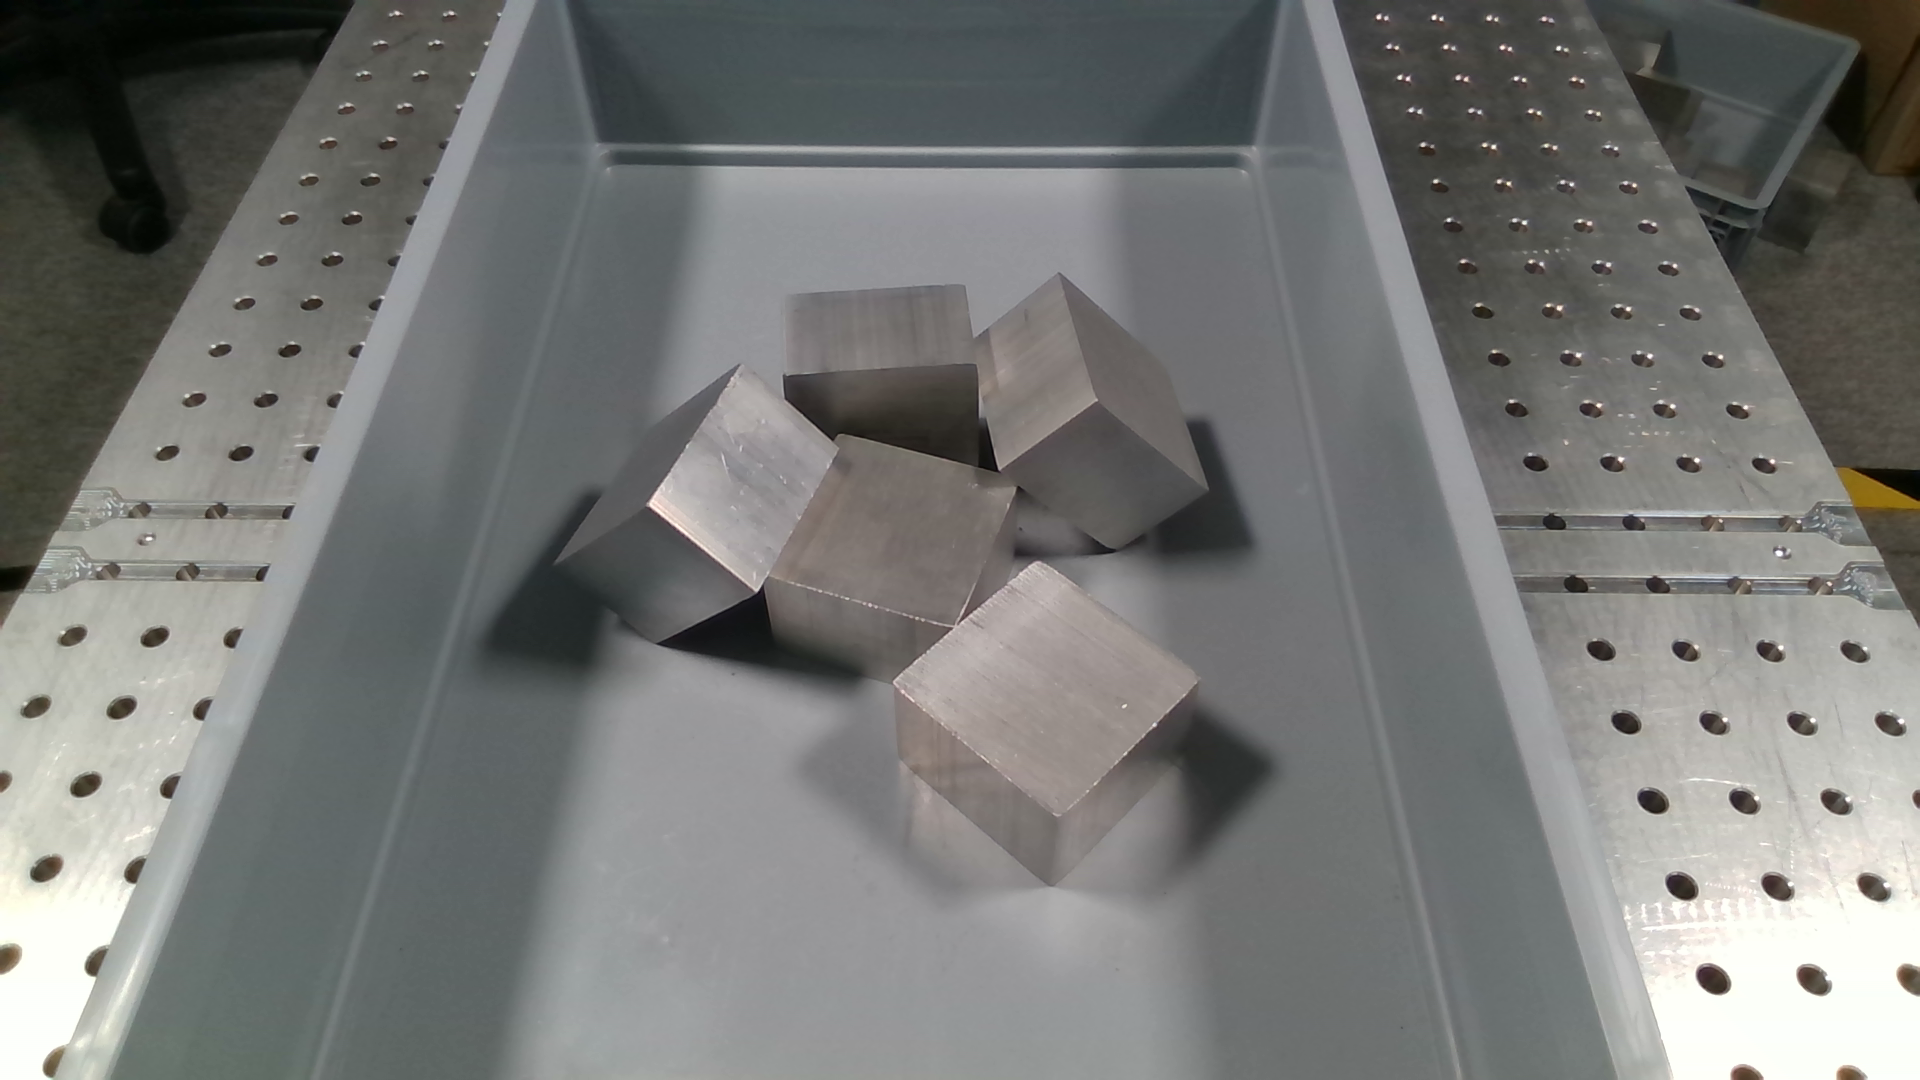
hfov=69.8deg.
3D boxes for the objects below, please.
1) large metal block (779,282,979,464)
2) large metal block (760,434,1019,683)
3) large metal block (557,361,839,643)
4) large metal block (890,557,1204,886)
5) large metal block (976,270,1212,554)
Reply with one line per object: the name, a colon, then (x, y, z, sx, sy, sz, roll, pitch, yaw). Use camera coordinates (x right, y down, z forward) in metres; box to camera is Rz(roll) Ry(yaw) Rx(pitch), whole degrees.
large metal block: (-0.035, -0.063, 0.603, 0.080, 0.080, 0.050, -4, 50, -4)
large metal block: (-0.027, 0.010, 0.562, 0.080, 0.050, 0.080, 15, 52, 12)
large metal block: (-0.105, -0.014, 0.553, 0.050, 0.080, 0.080, 41, 51, -21)
large metal block: (0.032, 0.066, 0.514, 0.080, 0.050, 0.080, 36, 59, 26)
large metal block: (0.055, -0.054, 0.587, 0.050, 0.080, 0.080, -35, 44, 26)
